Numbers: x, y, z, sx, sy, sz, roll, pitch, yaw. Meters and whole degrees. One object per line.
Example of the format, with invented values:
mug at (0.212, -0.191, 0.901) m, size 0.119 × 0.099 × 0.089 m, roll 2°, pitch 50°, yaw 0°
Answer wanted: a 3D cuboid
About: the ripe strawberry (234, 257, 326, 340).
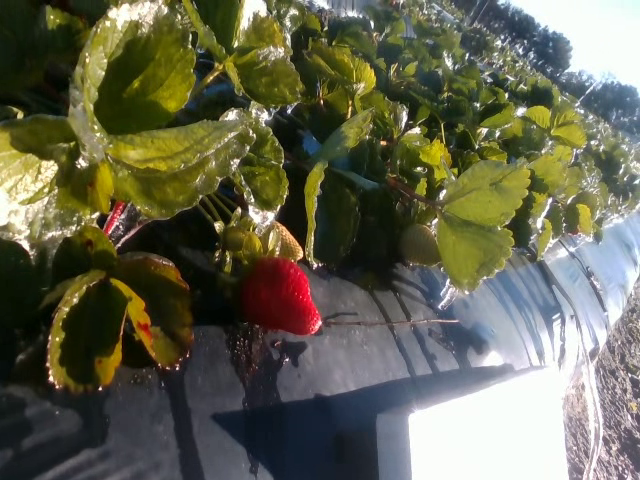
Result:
ripe strawberry at (-0.010, 0.026, 0.232) m, size 0.039 × 0.040 × 0.039 m, roll -8°, pitch 27°, yaw -44°
